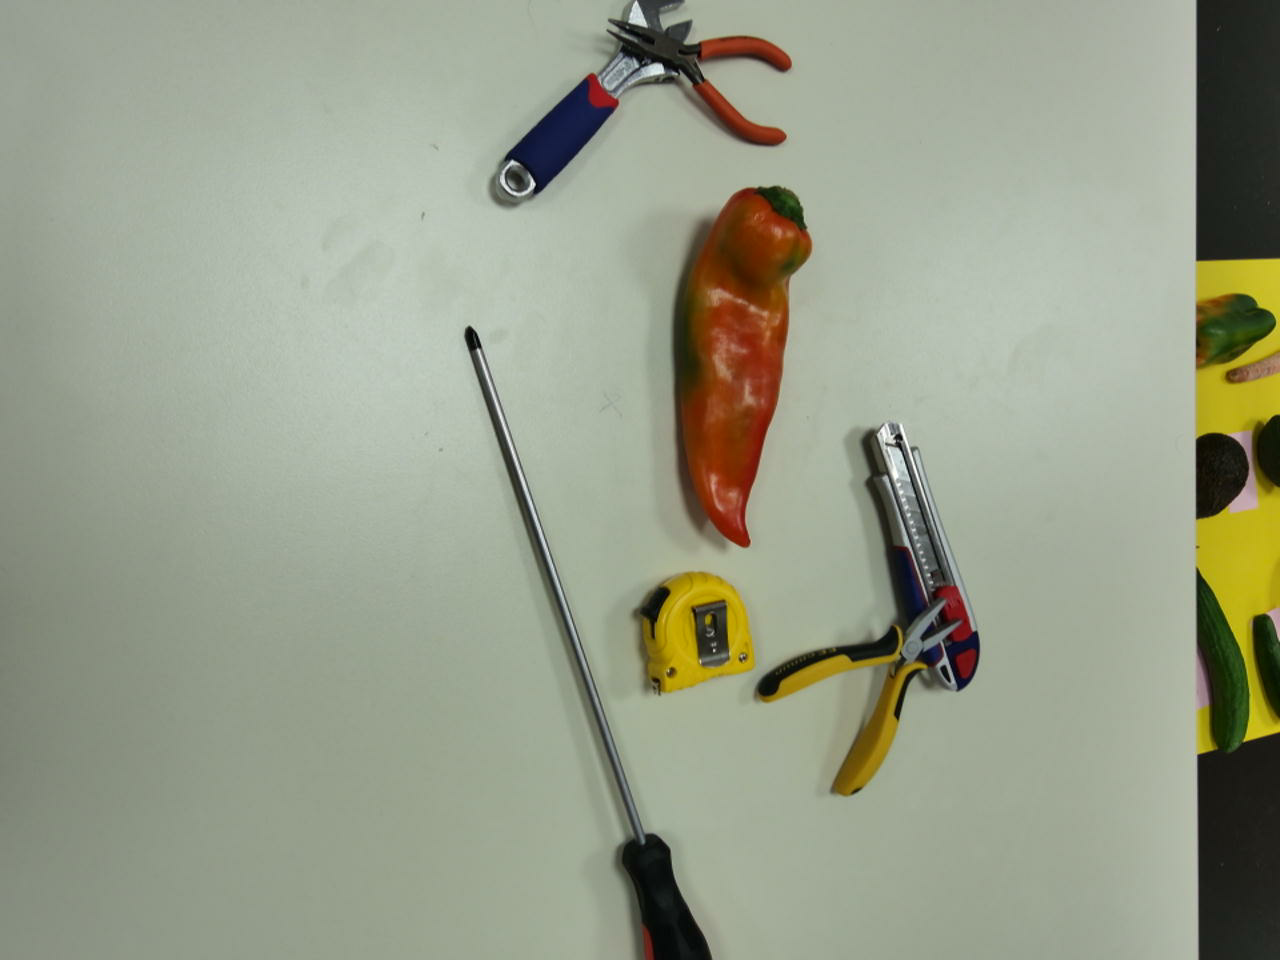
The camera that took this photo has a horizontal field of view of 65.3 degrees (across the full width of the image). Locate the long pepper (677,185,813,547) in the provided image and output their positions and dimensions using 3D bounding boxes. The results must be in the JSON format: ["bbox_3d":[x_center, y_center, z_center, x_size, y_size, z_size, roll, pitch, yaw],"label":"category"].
[{"bbox_3d":[0.060,-0.063,0.558,0.066,0.065,0.199,5,89,-22],"label":"long pepper"}]
